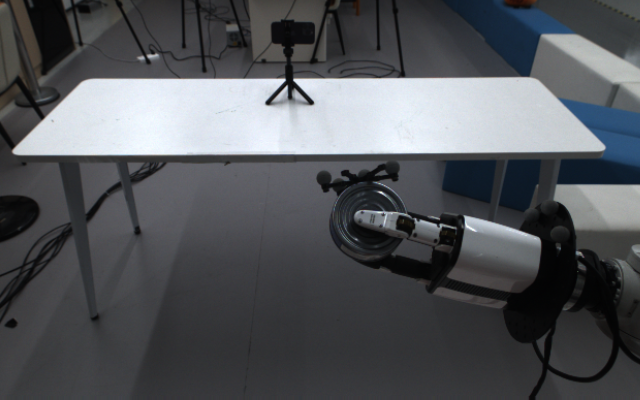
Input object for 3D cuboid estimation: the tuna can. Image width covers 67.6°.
[{"bbox_3d":[0.057,0.021,0.538,0.085,0.034,0.085,0,72,-1],"label":"tuna can"}]
